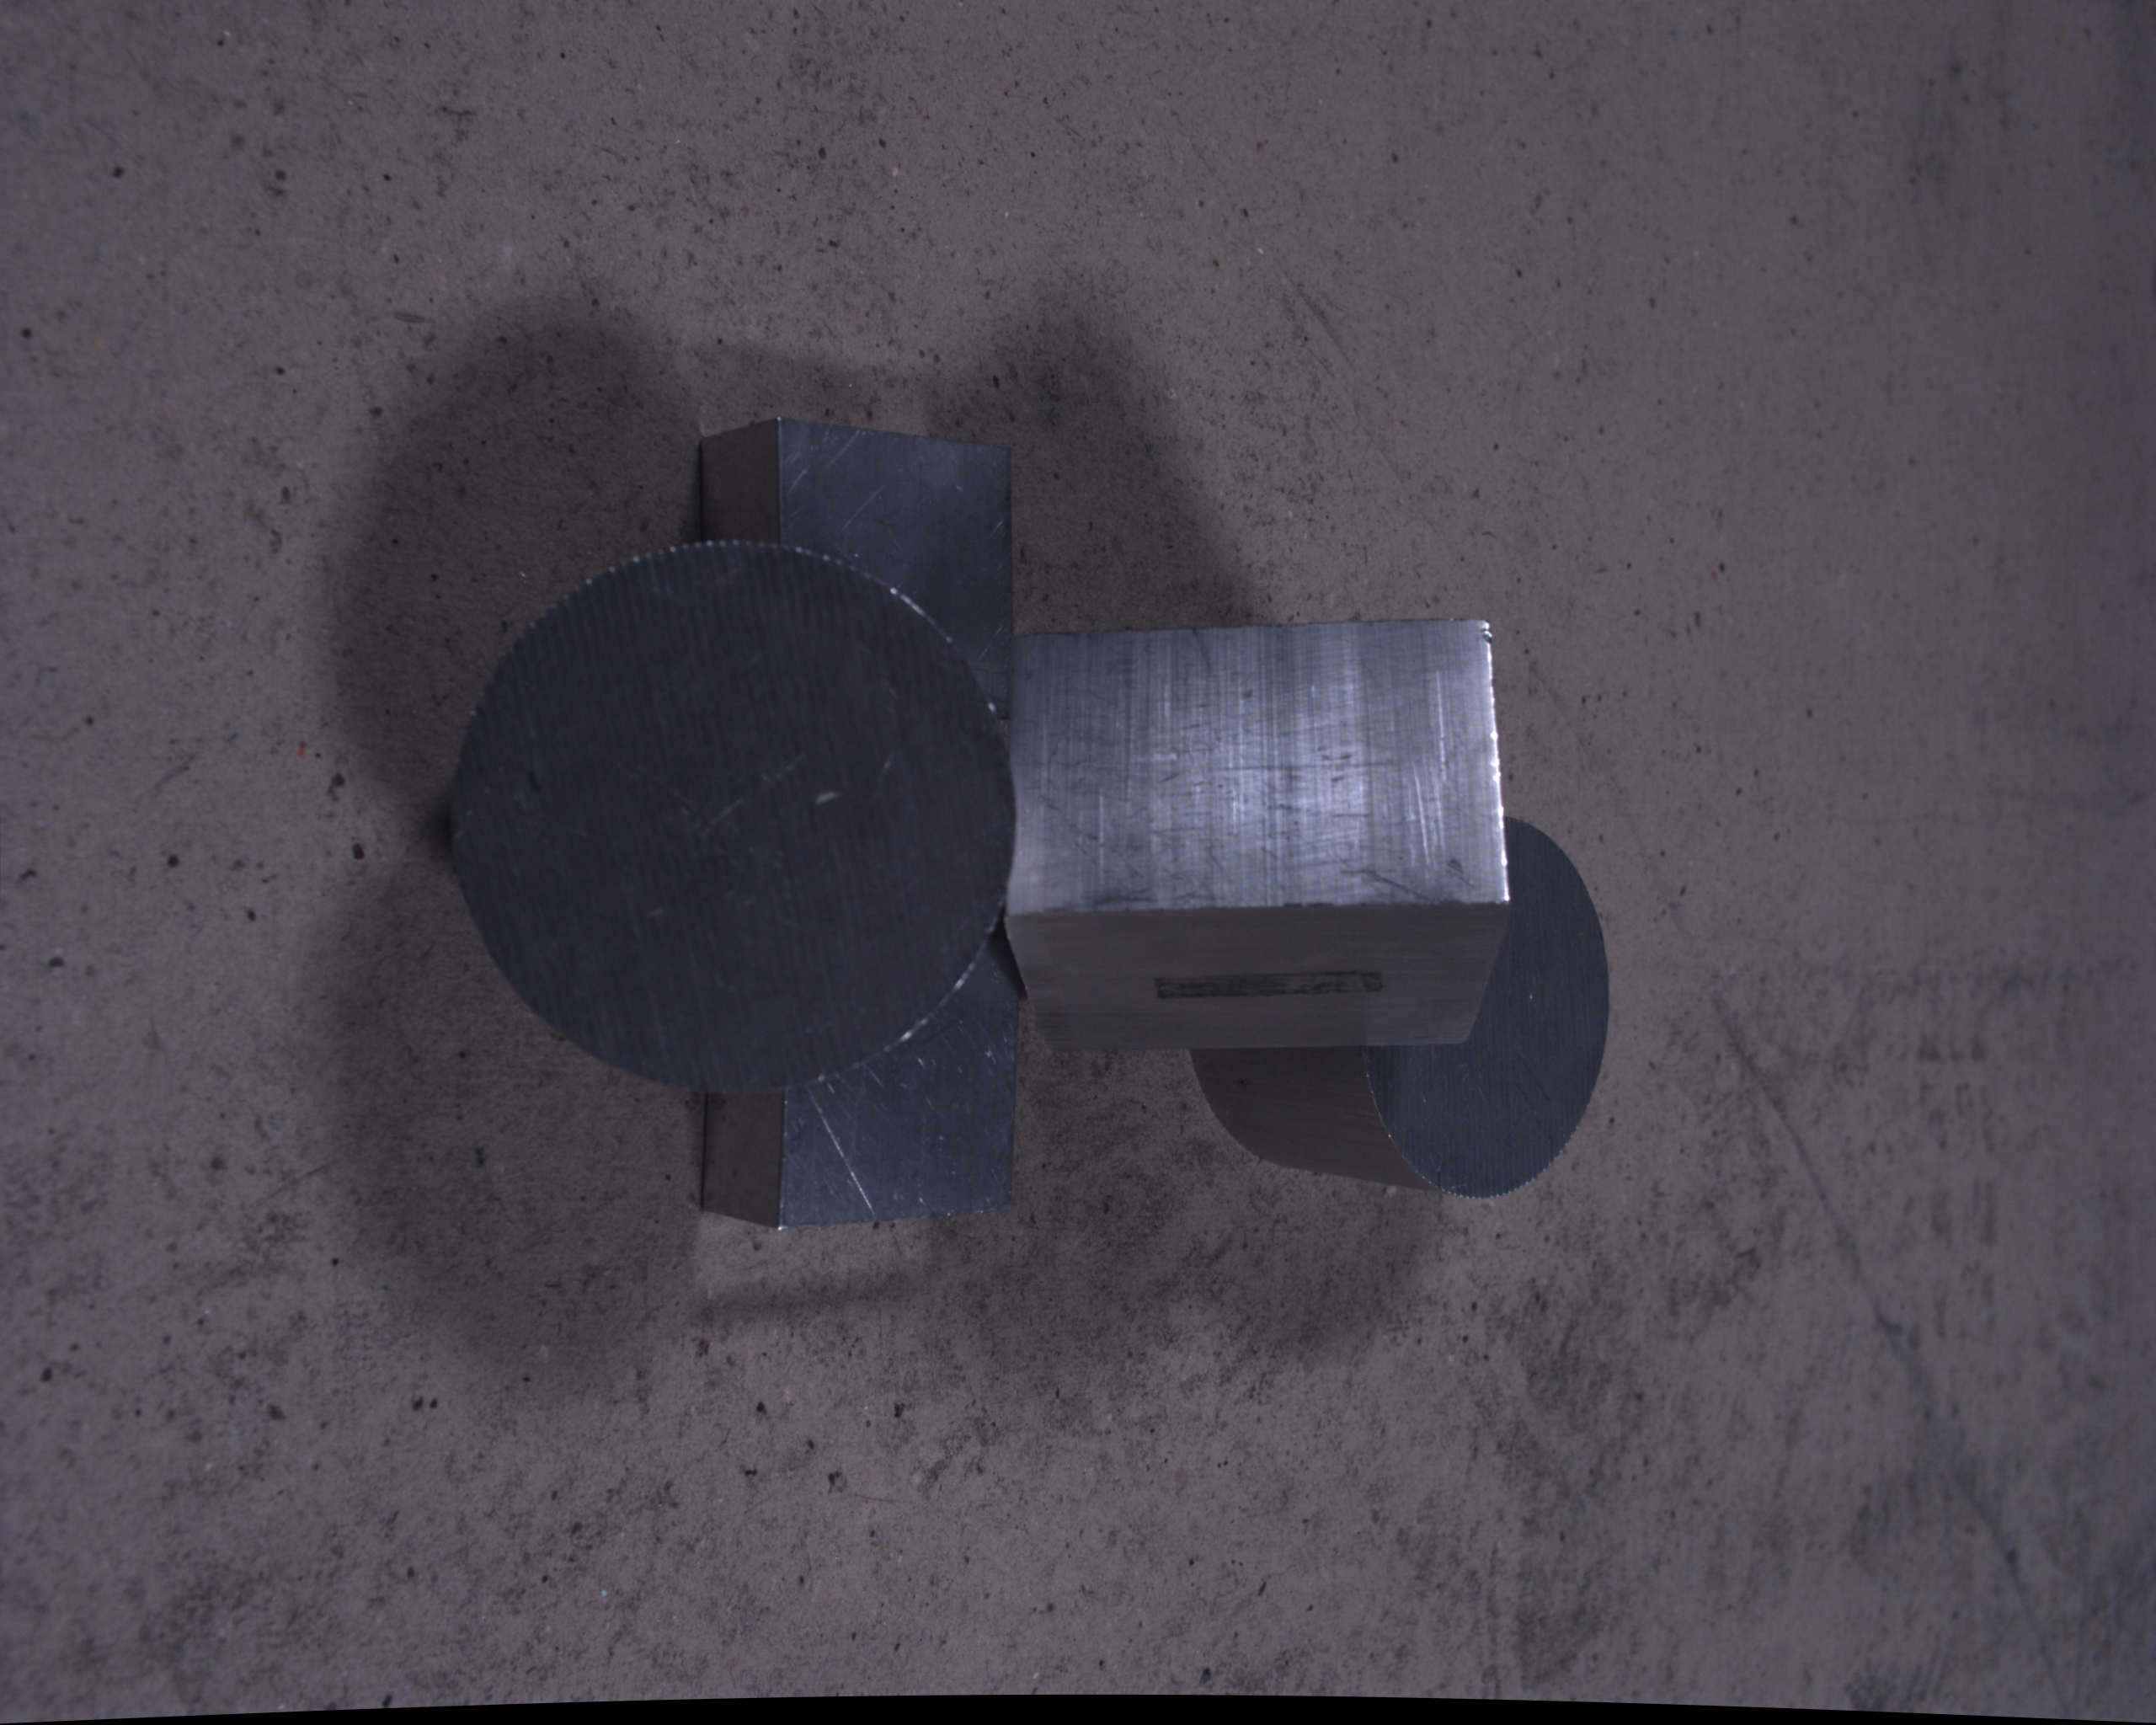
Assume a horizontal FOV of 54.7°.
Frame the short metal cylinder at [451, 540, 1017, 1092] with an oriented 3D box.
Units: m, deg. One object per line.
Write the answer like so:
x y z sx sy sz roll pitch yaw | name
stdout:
-0.051 -0.007 0.325 0.081 0.050 0.079 0 91 -5 | short metal cylinder

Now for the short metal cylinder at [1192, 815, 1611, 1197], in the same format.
0.070 0.029 0.451 0.081 0.050 0.079 0 90 -40 | short metal cylinder

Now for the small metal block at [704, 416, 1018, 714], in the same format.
-0.038 -0.051 0.375 0.050 0.025 0.050 -2 91 -40 | small metal block

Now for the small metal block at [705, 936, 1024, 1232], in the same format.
-0.038 0.038 0.376 0.050 0.025 0.050 4 88 -40 | small metal block

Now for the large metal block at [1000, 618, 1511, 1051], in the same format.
0.031 -0.002 0.374 0.080 0.080 0.050 78 11 -68 | large metal block
